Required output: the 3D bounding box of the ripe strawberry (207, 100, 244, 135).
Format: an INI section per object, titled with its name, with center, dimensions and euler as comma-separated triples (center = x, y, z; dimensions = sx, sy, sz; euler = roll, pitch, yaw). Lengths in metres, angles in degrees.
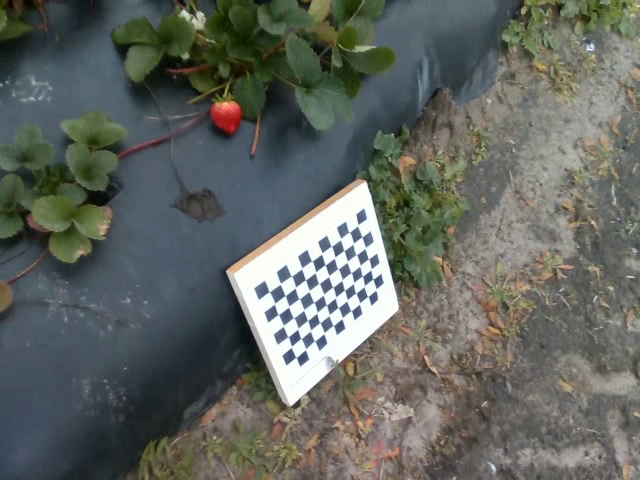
[ripe strawberry]
center = -0.158, -0.214, 1.064
dimensions = 0.061, 0.065, 0.049
euler = -27, 22, -39
